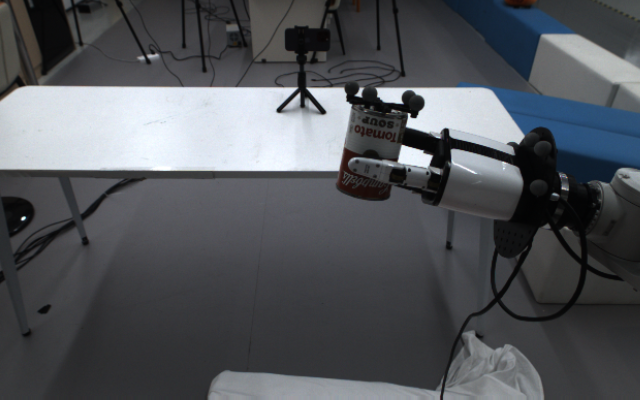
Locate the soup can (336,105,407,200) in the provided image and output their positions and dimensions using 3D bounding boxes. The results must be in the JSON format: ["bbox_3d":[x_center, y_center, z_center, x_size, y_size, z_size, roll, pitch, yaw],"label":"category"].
[{"bbox_3d":[0.062,-0.060,0.575,0.067,0.101,0.067,9,20,-3],"label":"soup can"}]
